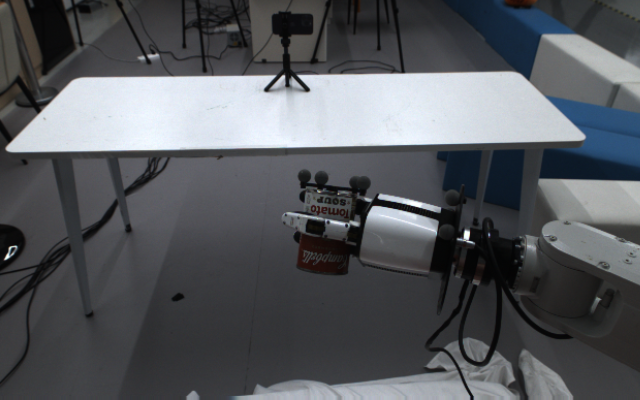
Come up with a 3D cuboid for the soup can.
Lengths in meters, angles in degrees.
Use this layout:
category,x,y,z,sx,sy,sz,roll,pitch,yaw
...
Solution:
category,x,y,z,sx,sy,sz,roll,pitch,yaw
soup can,0.010,0.039,0.616,0.067,0.101,0.067,7,3,0
